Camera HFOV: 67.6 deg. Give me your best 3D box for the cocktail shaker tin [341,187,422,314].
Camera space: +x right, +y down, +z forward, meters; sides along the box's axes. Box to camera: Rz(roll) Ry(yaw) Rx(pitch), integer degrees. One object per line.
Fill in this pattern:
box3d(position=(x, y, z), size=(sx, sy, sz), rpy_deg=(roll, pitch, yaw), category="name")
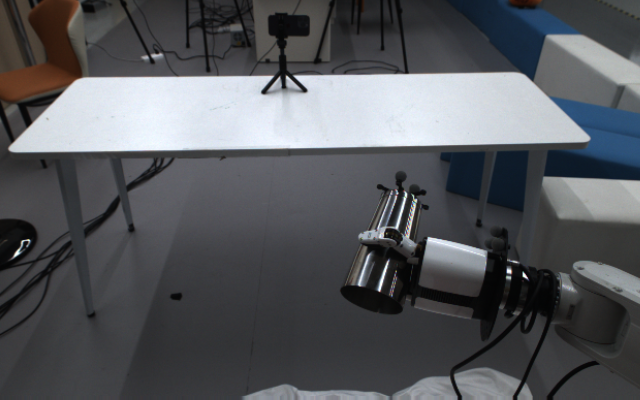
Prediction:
box3d(position=(0.099, 0.072, 0.715), size=(0.093, 0.093, 0.170), rpy_deg=(14, 61, 16), category="cocktail shaker tin")
